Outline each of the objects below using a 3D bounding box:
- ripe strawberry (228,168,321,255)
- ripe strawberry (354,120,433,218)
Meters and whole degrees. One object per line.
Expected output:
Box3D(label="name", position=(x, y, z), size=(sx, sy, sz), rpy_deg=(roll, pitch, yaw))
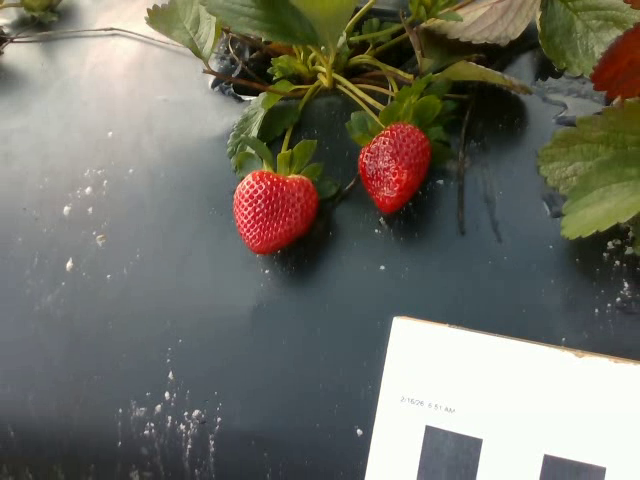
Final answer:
Box3D(label="ripe strawberry", position=(-0.025, -0.014, 0.299), size=(0.050, 0.061, 0.045), rpy_deg=(-3, -44, 20))
Box3D(label="ripe strawberry", position=(0.036, -0.038, 0.291), size=(0.042, 0.053, 0.034), rpy_deg=(-9, -43, 19))
